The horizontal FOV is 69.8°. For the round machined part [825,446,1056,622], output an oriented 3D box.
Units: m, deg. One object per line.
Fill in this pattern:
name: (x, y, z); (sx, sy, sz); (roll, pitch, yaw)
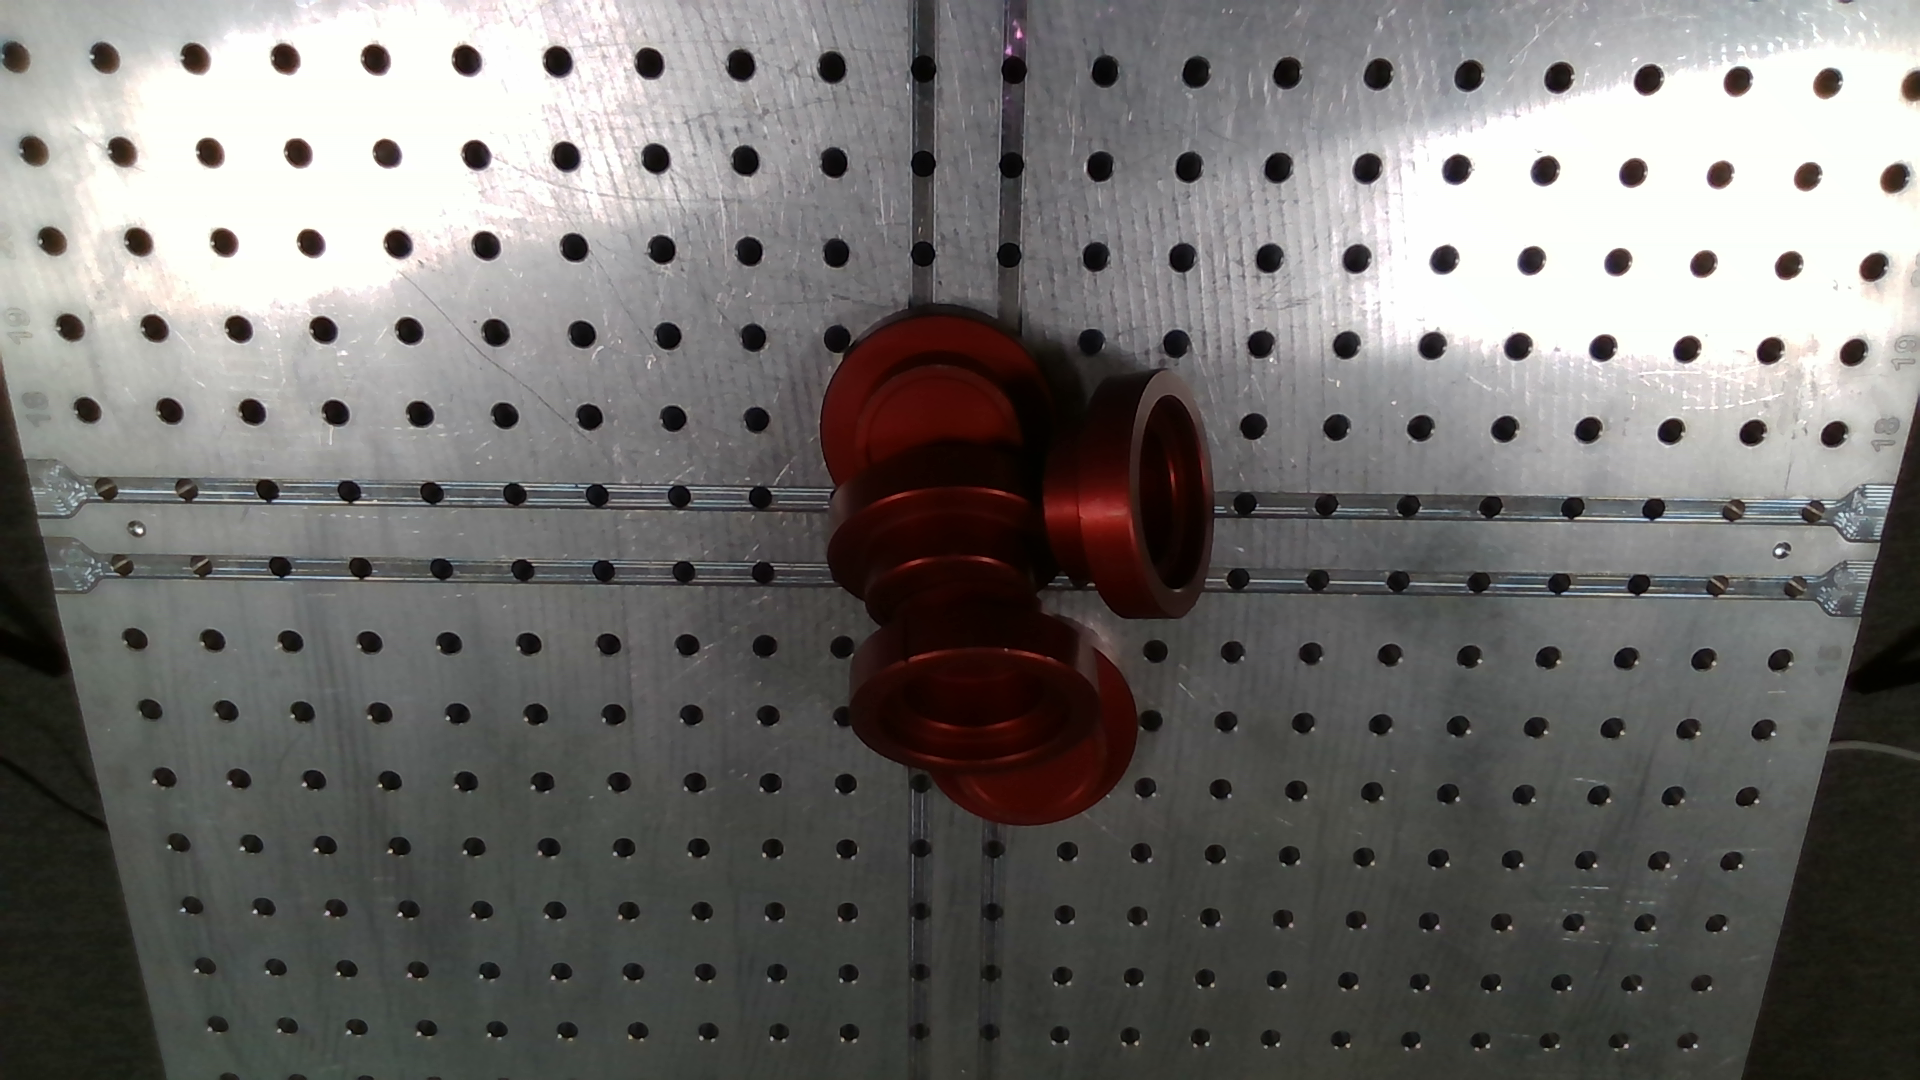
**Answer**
round machined part: (-0.005, 0.008, 0.556); (0.098, 0.042, 0.098); (-3, 147, -2)

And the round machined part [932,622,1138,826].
round machined part: (0.030, 0.085, 0.609); (0.098, 0.042, 0.098); (0, 110, 0)

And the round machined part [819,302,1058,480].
round machined part: (-0.009, -0.045, 0.562); (0.098, 0.042, 0.098); (0, 110, 0)

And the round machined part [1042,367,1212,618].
round machined part: (0.066, -0.018, 0.547); (0.042, 0.098, 0.098); (-2, 112, 28)

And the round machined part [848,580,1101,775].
round machined part: (0.005, 0.052, 0.546); (0.098, 0.042, 0.098); (-1, 143, -1)
